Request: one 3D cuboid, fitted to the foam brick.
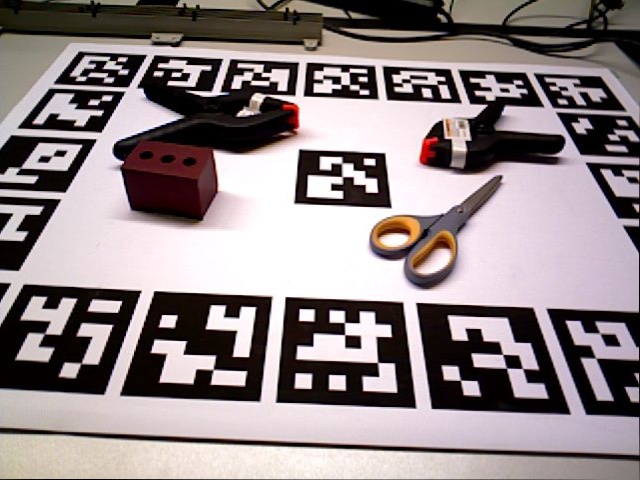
[{"bbox_3d":[-0.154,-0.053,0.542,0.078,0.052,0.051,5,46,9],"label":"foam brick"}]

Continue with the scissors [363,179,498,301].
[{"bbox_3d":[0.125,-0.017,0.537,0.087,0.016,0.198,38,52,20],"label":"scissors"}]

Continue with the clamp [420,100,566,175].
[{"bbox_3d":[0.190,-0.116,0.637,0.162,0.037,0.121,-18,56,-19],"label":"clamp"}]

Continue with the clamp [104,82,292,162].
[{"bbox_3d":[-0.134,-0.142,0.641,0.201,0.037,0.162,0,42,-4],"label":"clamp"}]
